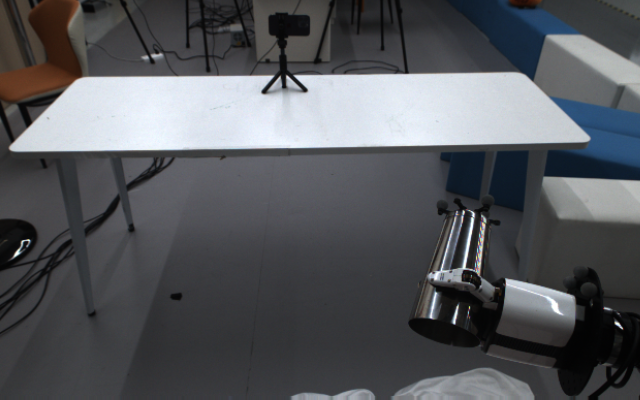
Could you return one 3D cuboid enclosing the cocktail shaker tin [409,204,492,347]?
[{"bbox_3d":[0.185,0.100,0.658,0.093,0.093,0.170,13,60,16],"label":"cocktail shaker tin"}]
